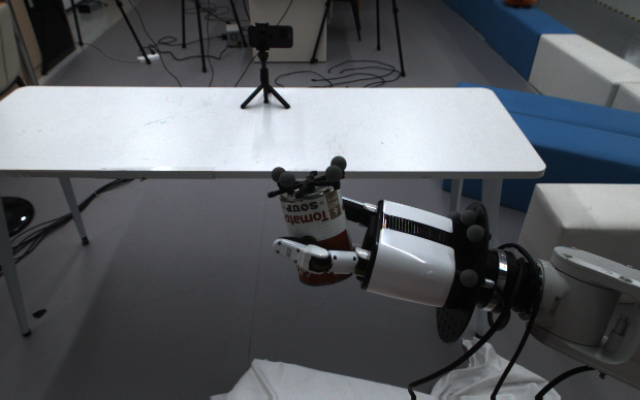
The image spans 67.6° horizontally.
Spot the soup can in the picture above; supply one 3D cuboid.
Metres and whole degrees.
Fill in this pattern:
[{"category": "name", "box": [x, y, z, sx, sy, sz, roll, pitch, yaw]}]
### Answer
[{"category": "soup can", "box": [0.001, 0.034, 0.536, 0.067, 0.101, 0.067, -12, 17, 4]}]
